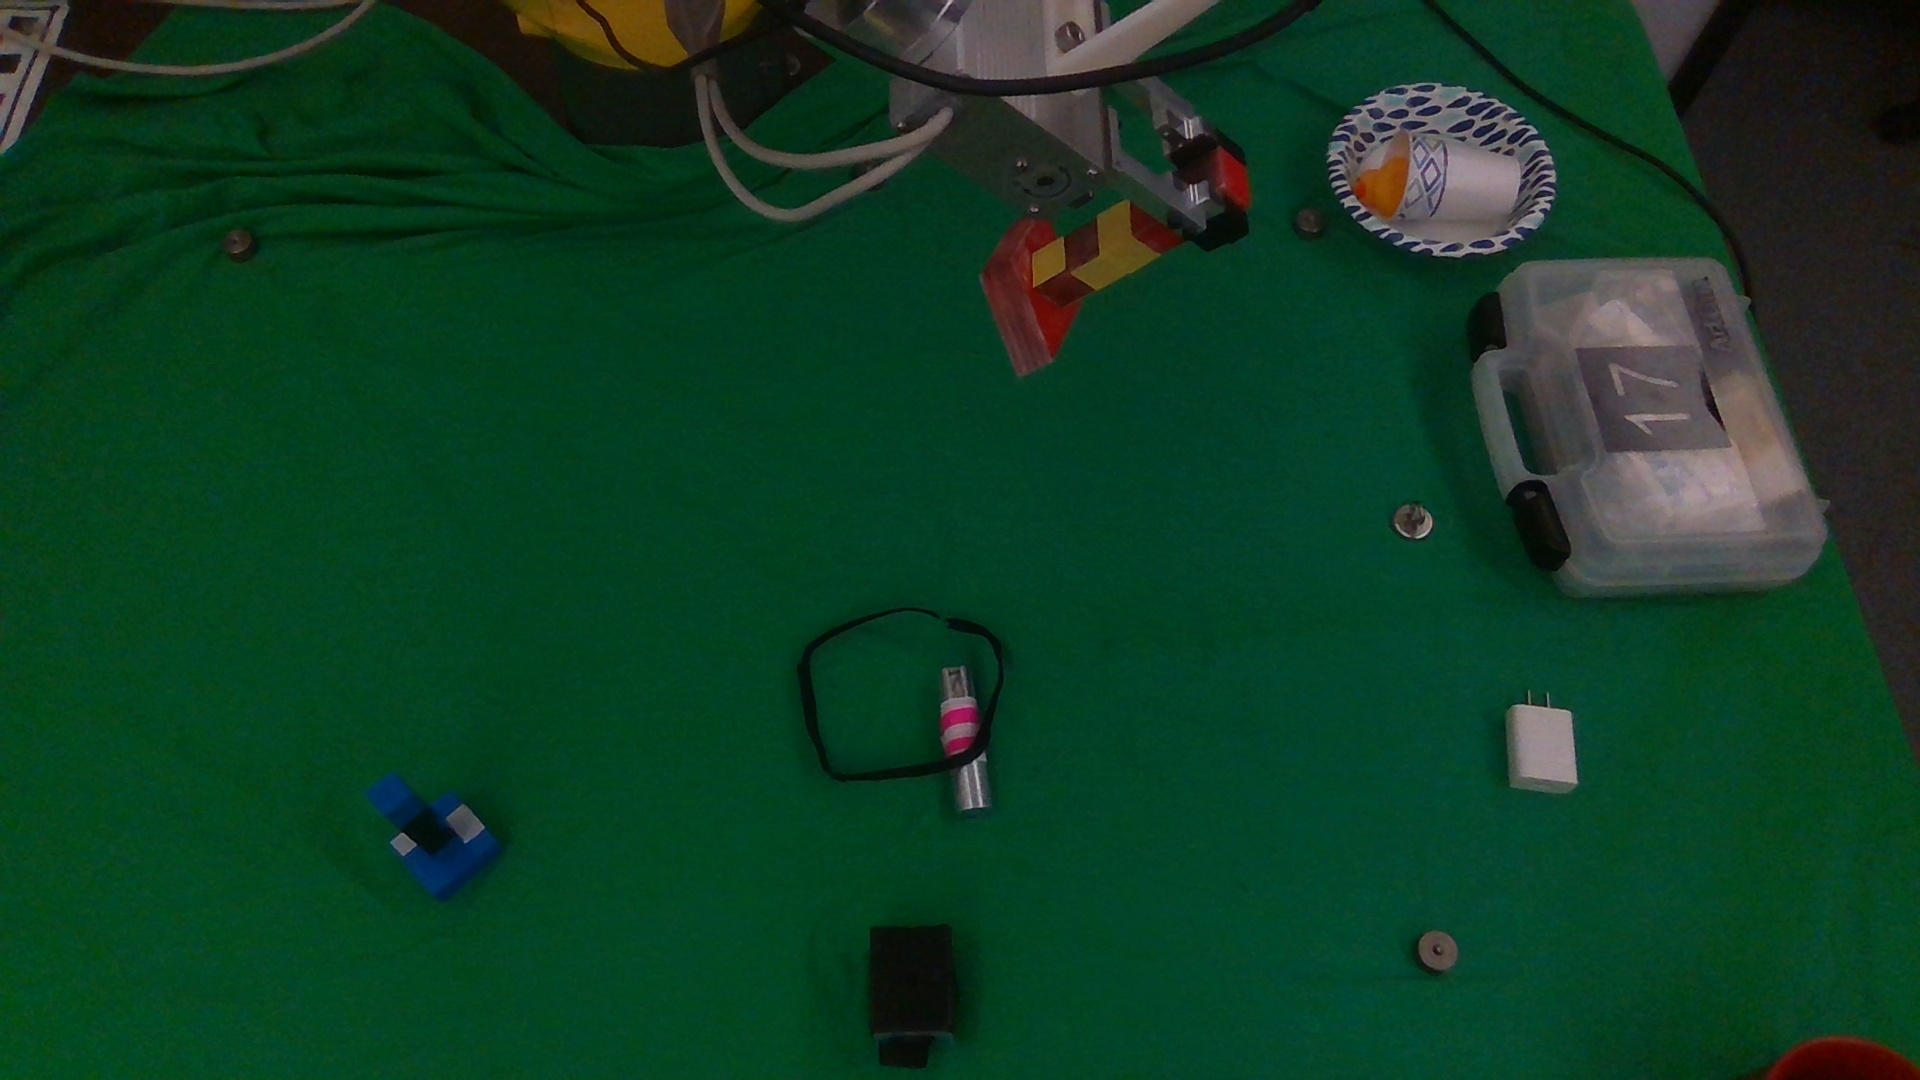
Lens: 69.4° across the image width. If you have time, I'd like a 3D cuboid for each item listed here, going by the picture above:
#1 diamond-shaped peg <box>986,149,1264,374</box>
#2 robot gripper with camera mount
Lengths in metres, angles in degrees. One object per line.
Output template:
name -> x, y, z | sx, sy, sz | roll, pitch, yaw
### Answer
diamond-shaped peg -> 0.070, -0.127, 0.587 | 0.045, 0.122, 0.074 | -18, 88, -51
robot gripper with camera mount -> 0.104, -0.191, 0.472 | 0.194, 0.158, 0.119 | -29, 55, 35
